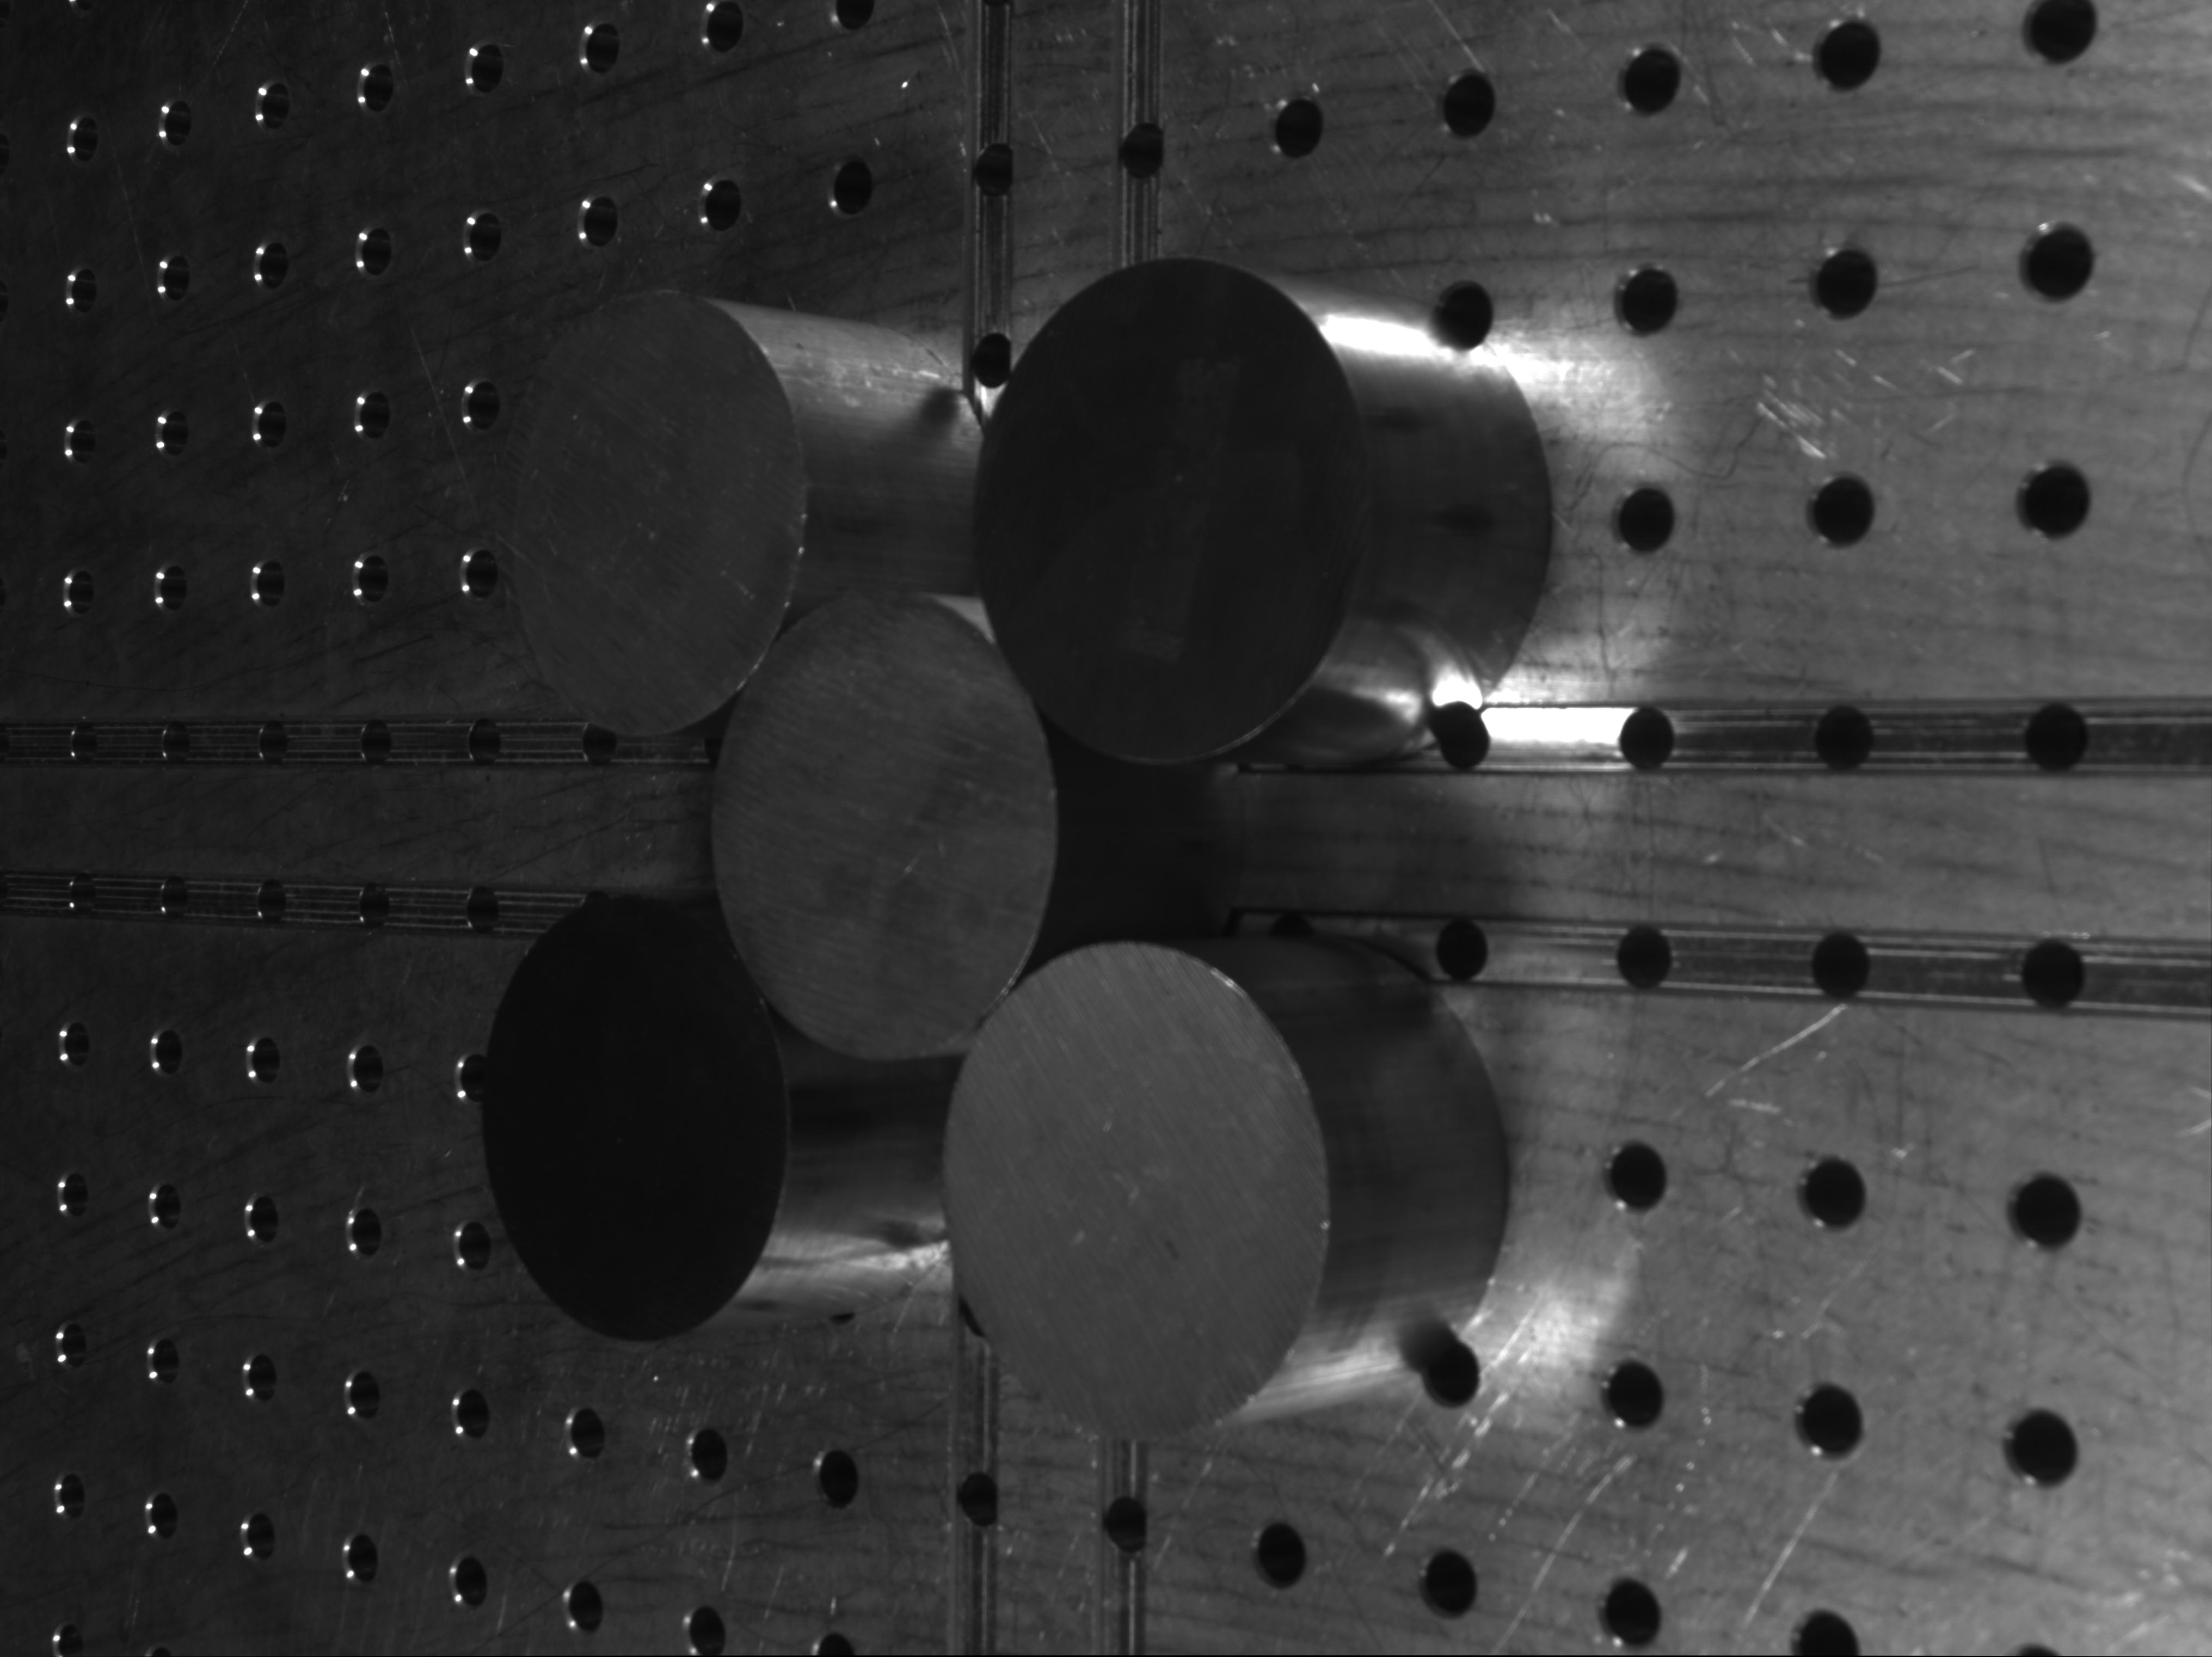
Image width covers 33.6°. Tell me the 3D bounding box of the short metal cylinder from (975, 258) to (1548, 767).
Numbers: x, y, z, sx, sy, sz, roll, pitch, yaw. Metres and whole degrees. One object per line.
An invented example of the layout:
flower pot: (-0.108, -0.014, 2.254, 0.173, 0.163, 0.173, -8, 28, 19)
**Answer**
short metal cylinder: (0.025, -0.050, 0.600, 0.080, 0.050, 0.080, 0, 90, 39)

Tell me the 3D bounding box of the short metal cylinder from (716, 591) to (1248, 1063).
short metal cylinder: (-0.022, 0.000, 0.641, 0.080, 0.050, 0.080, 0, 90, 39)

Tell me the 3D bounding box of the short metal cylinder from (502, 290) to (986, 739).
short metal cylinder: (-0.066, -0.056, 0.677, 0.080, 0.050, 0.080, 0, 90, 39)

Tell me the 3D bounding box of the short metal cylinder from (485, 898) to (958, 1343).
short metal cylinder: (-0.069, 0.053, 0.678, 0.080, 0.050, 0.080, 0, 90, 39)

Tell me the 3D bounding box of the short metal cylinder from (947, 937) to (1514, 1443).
short metal cylinder: (0.020, 0.058, 0.606, 0.080, 0.050, 0.080, 0, 90, 39)
